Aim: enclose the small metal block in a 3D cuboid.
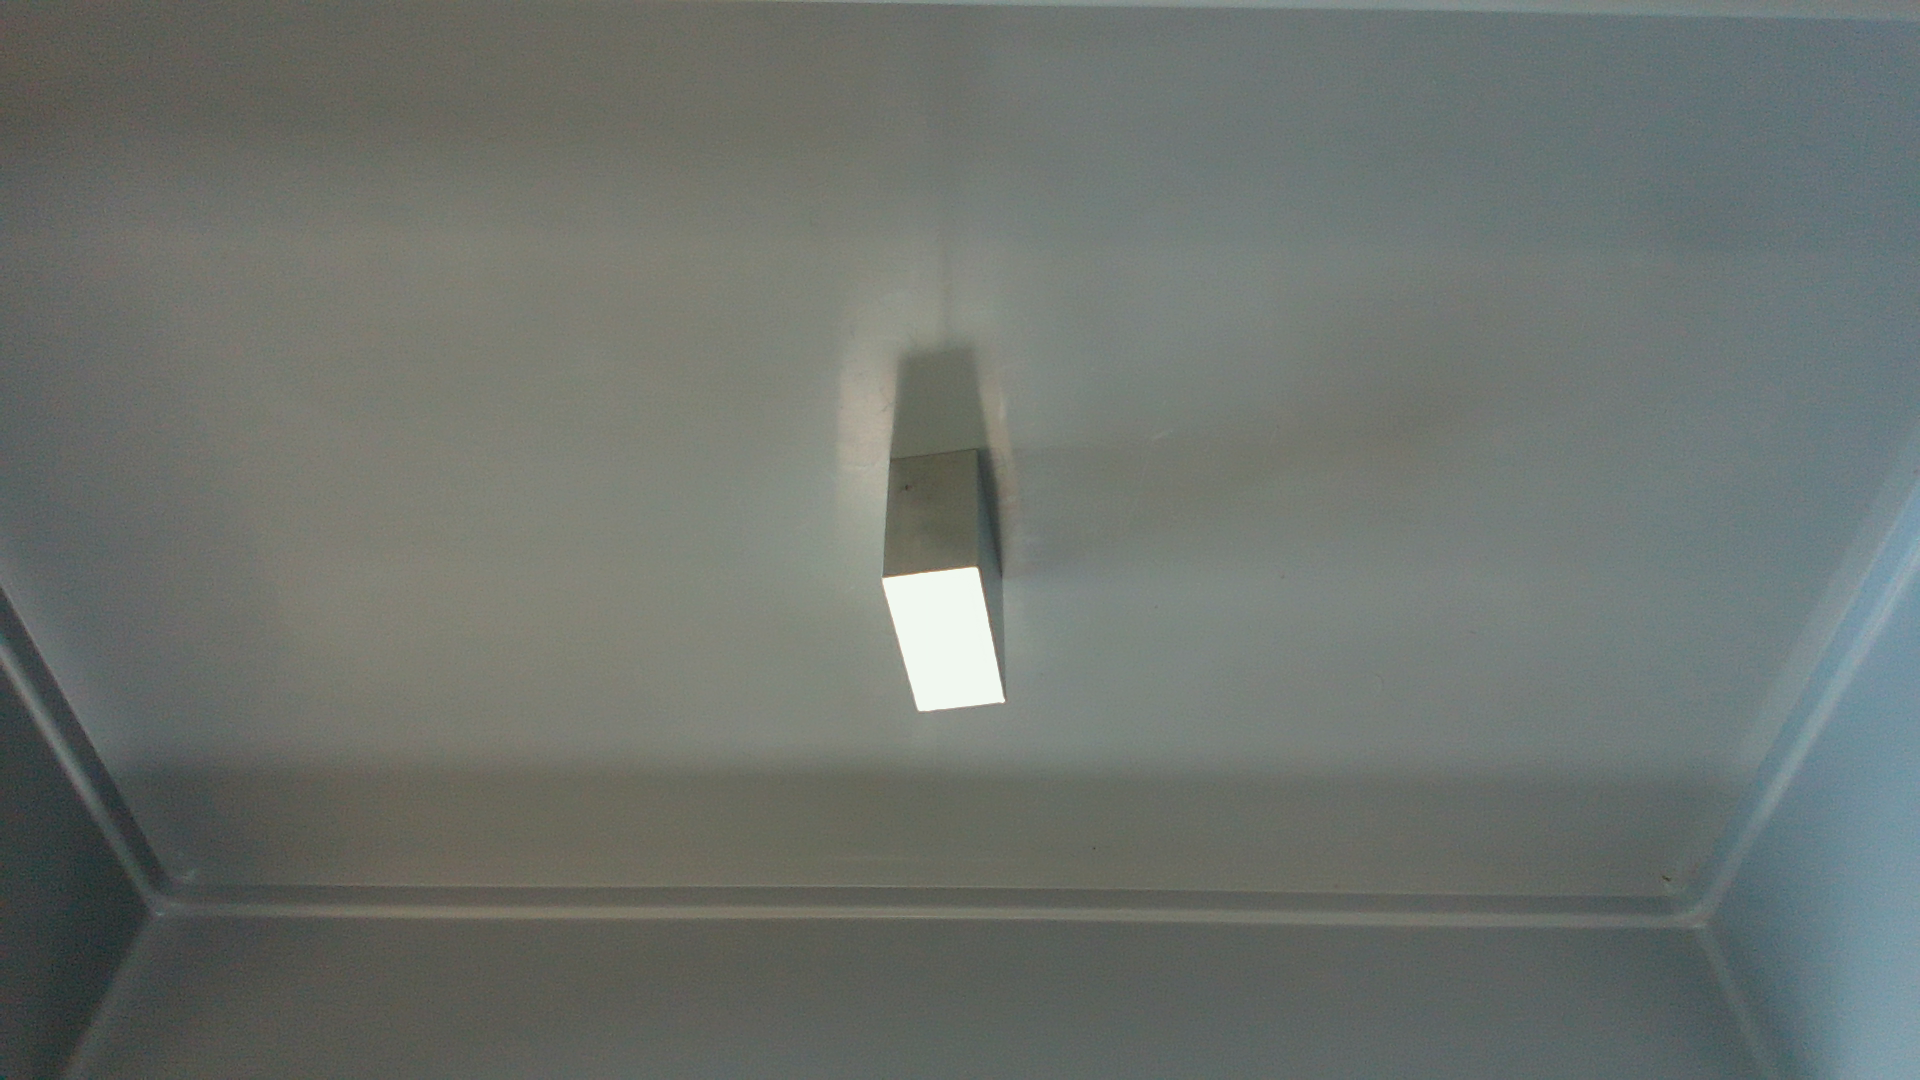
[{"bbox_3d":[-0.004,0.011,0.379,0.025,0.050,0.050,-7,129,6],"label":"small metal block"}]
